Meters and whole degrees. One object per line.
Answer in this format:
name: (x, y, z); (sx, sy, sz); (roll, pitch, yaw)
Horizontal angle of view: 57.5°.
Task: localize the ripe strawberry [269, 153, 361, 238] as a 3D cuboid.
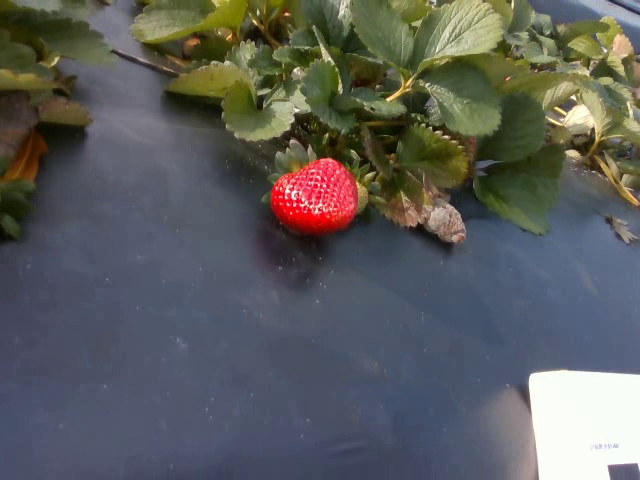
ripe strawberry: (0.001, -0.019, 0.268); (0.045, 0.051, 0.058); (14, 18, -30)
